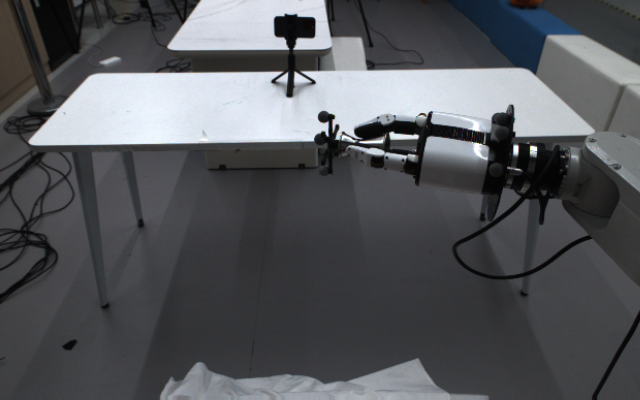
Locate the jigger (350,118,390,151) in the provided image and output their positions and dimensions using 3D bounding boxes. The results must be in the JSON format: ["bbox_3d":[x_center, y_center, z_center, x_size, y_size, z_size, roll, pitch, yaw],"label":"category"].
[{"bbox_3d":[0.071,-0.082,0.703,0.071,0.043,0.043,5,34,16],"label":"jigger"}]
